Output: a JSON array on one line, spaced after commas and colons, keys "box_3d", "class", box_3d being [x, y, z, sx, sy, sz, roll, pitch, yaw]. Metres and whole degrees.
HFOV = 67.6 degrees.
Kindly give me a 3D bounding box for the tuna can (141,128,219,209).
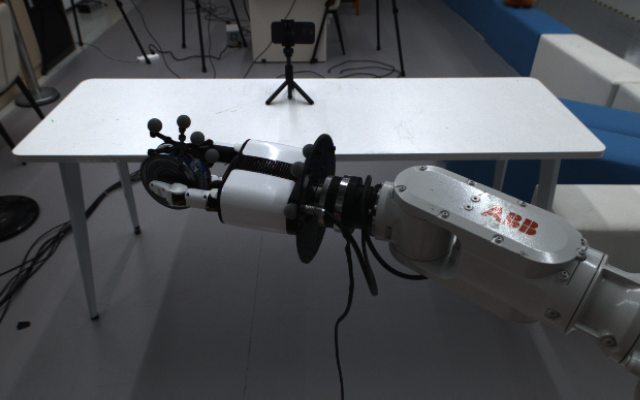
[{"box_3d": [-0.186, -0.030, 0.625, 0.085, 0.085, 0.034, 12, 35, 13], "class": "tuna can"}]
